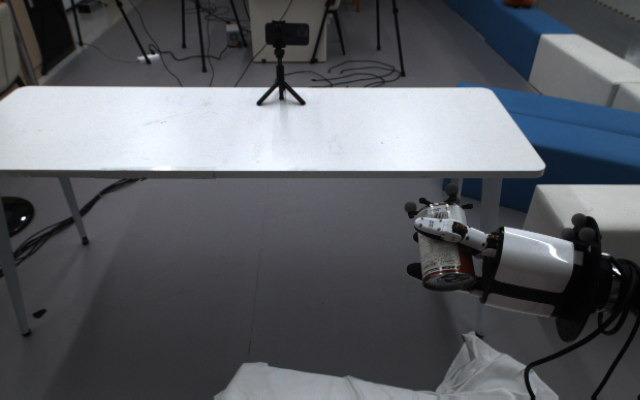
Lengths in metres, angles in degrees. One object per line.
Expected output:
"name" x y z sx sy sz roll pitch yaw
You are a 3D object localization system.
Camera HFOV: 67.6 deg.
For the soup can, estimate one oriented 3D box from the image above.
"soup can" 0.168 0.062 0.646 0.067 0.067 0.101 0 62 -2
